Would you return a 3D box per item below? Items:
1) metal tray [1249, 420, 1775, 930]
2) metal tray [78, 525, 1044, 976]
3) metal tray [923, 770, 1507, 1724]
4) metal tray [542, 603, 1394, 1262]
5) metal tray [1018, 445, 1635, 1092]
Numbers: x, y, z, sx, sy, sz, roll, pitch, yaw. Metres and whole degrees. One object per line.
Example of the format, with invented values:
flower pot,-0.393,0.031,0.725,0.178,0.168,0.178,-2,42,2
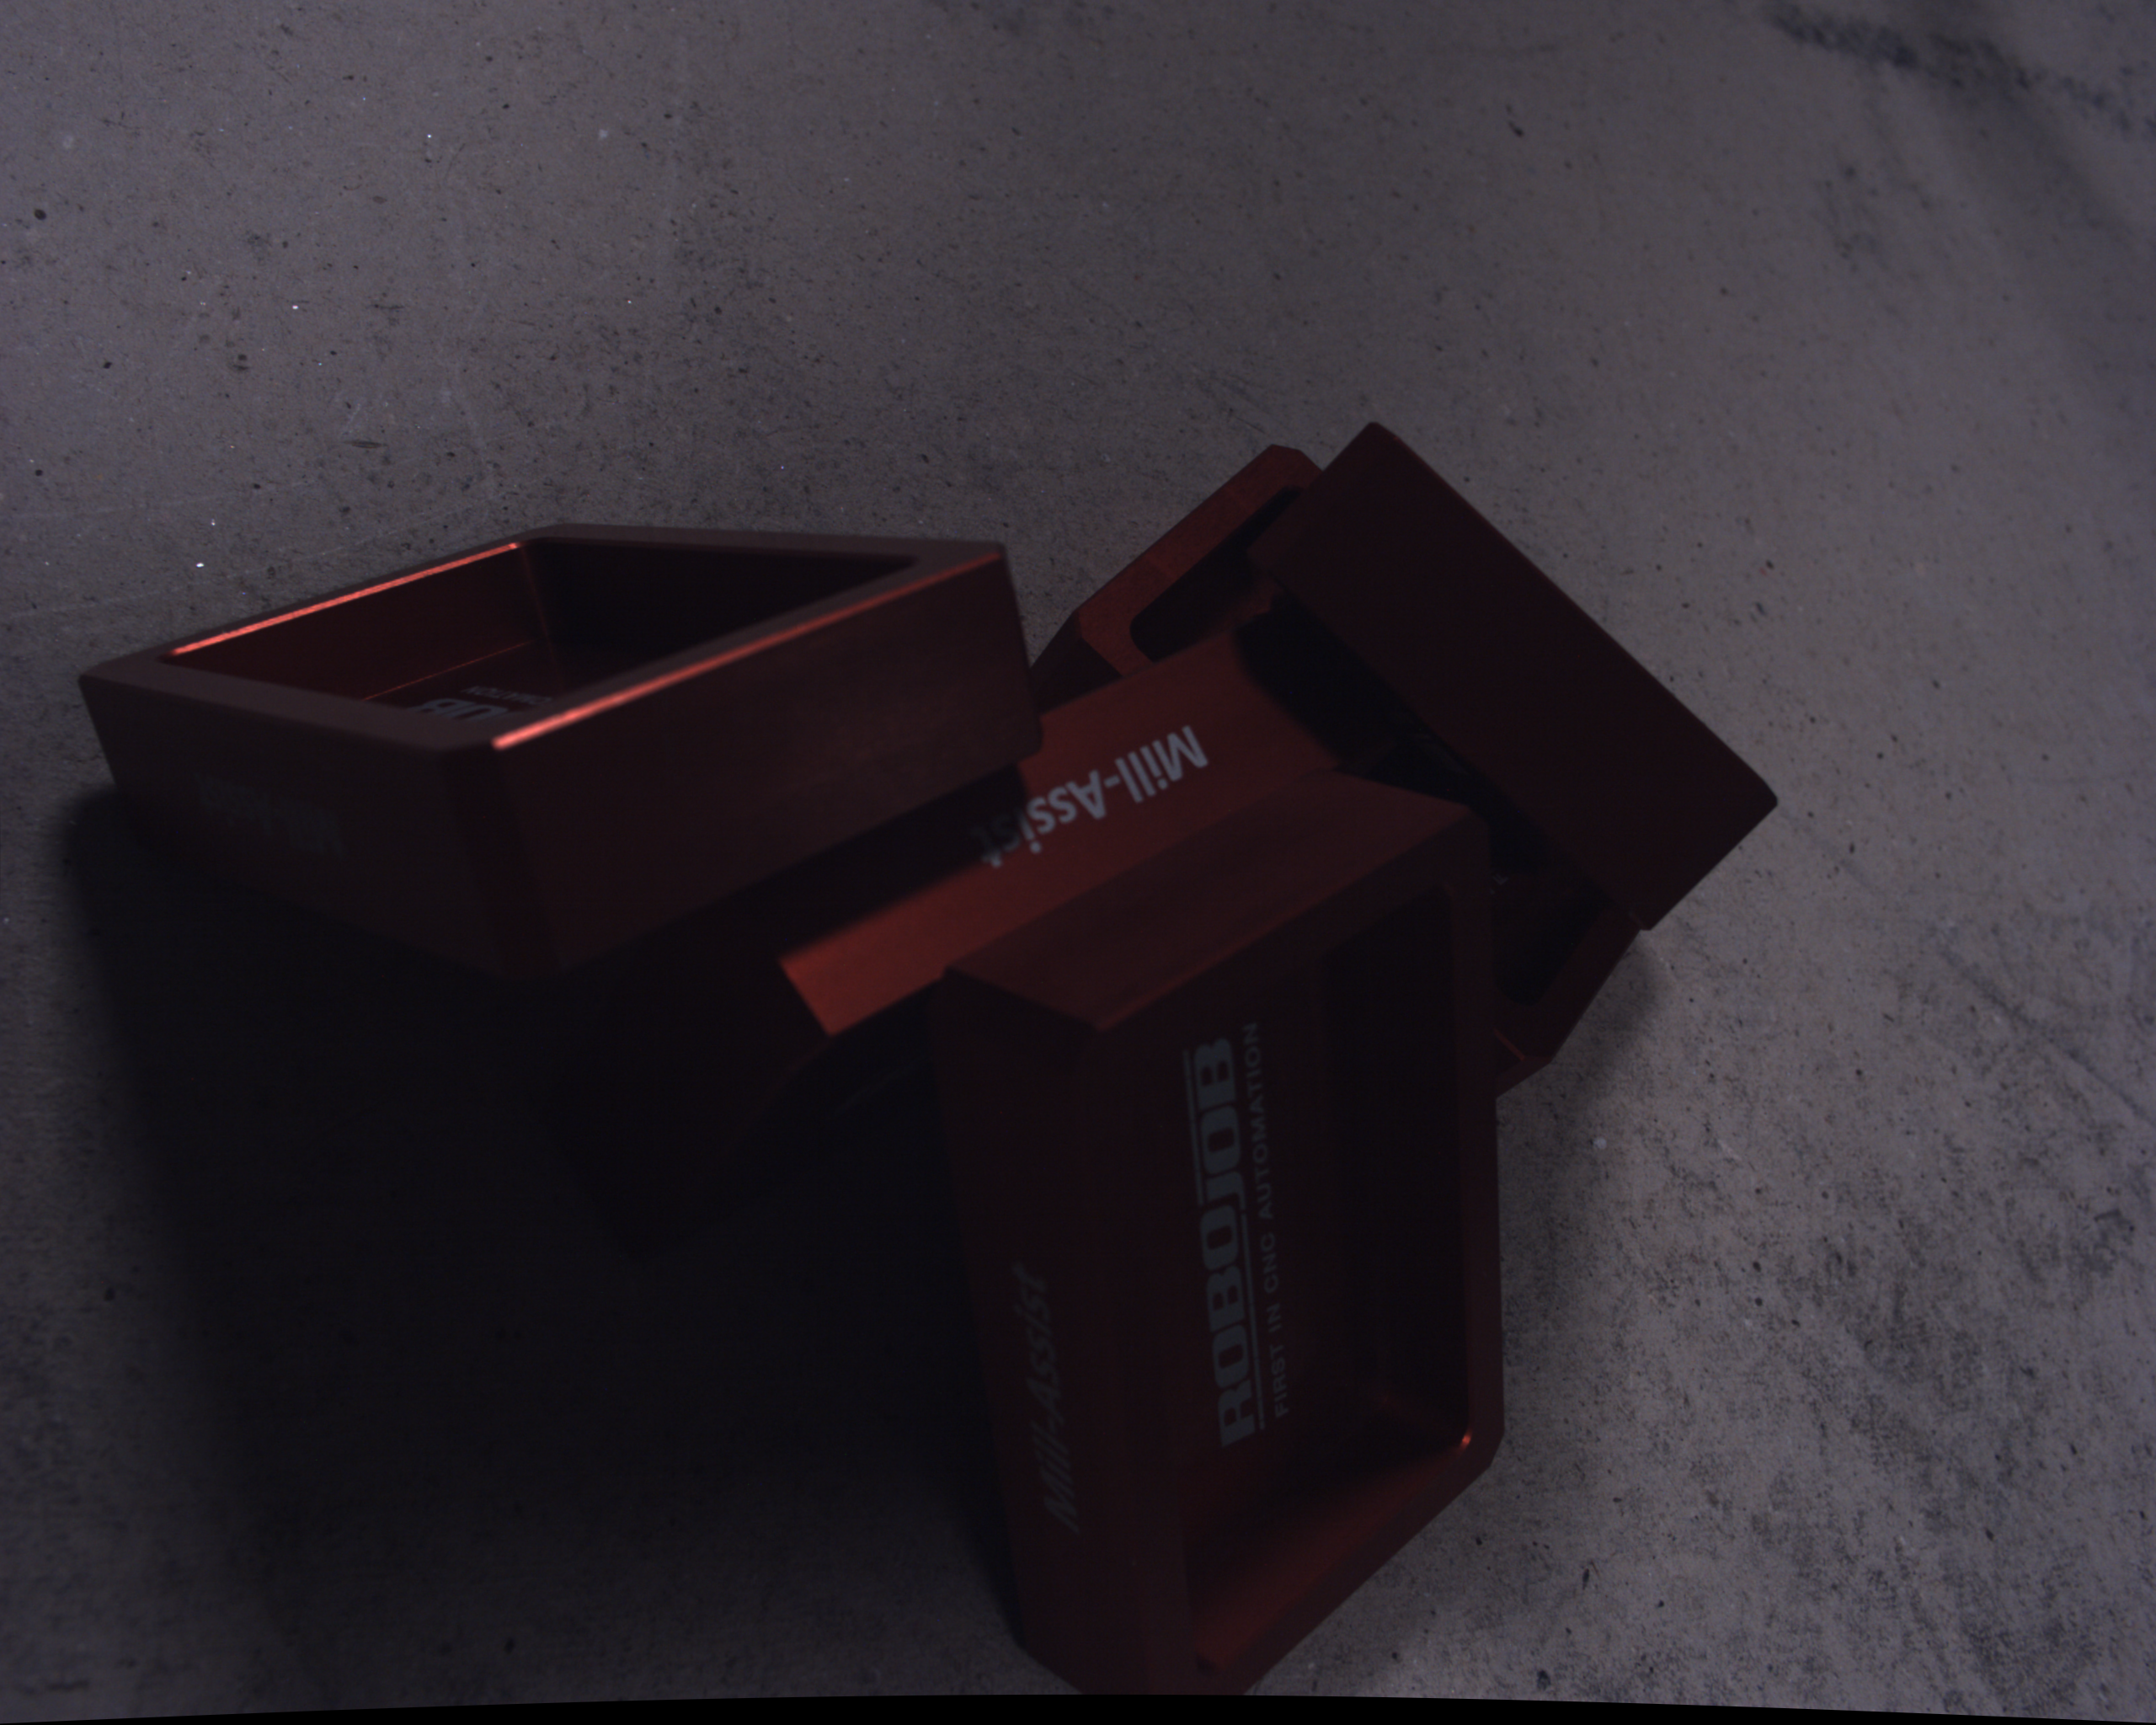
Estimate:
metal tray,0.076,-0.034,0.397,0.090,0.030,0.130,44,6,1
metal tray,-0.081,-0.024,0.317,0.091,0.130,0.030,-27,116,-38
metal tray,0.027,0.061,0.328,0.091,0.030,0.129,-28,122,-37
metal tray,-0.017,0.010,0.349,0.131,0.090,0.030,-28,78,-38
metal tray,0.062,-0.020,0.450,0.130,0.030,0.090,44,51,2
